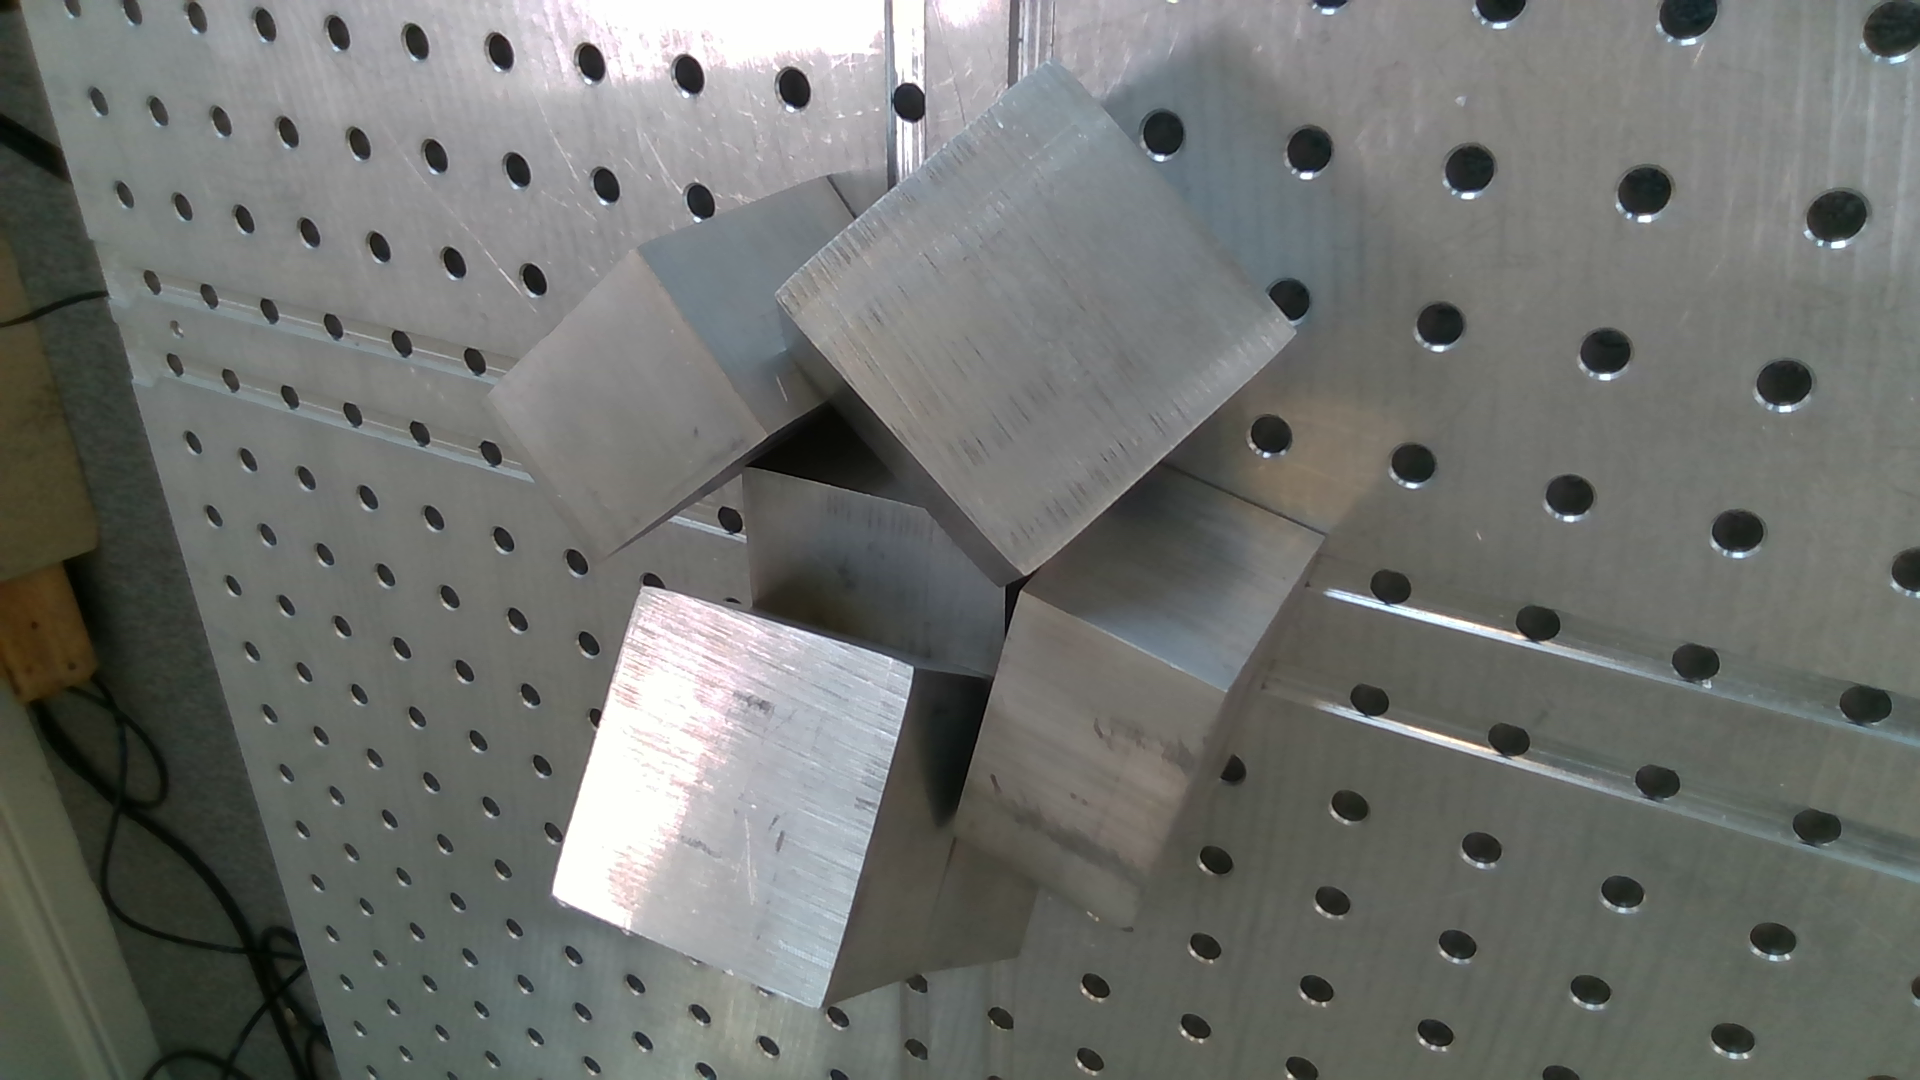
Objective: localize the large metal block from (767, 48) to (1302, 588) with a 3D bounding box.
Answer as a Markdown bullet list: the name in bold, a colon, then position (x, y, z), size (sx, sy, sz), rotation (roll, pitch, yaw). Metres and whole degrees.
- **large metal block**: position (0.014, -0.046, 0.313), size (0.080, 0.080, 0.050), rotation (48, 174, 0)

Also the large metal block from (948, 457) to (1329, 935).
- **large metal block**: position (0.045, 0.036, 0.348), size (0.050, 0.080, 0.080), rotation (26, 126, 17)

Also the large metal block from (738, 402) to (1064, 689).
- **large metal block**: position (-0.013, 0.012, 0.389), size (0.080, 0.050, 0.080), rotation (15, 122, 24)

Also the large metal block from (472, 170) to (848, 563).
- **large metal block**: position (-0.069, -0.047, 0.371), size (0.080, 0.080, 0.050), rotation (-30, 98, 39)

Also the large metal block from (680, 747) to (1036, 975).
- **large metal block**: position (-0.024, 0.087, 0.408), size (0.080, 0.080, 0.050), rotation (14, 84, 24)

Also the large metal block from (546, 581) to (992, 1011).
- **large metal block**: position (-0.047, 0.061, 0.348), size (0.080, 0.050, 0.080), rotation (14, 88, 24)
